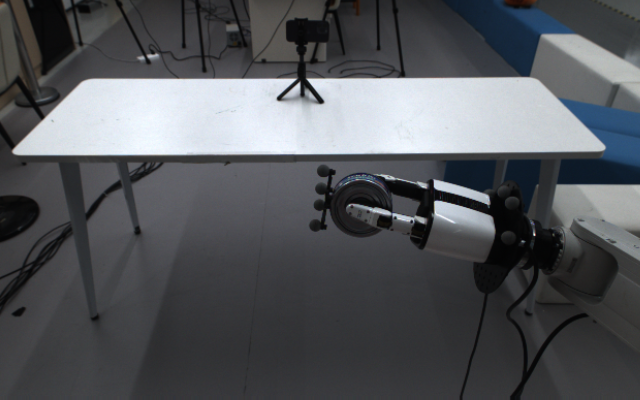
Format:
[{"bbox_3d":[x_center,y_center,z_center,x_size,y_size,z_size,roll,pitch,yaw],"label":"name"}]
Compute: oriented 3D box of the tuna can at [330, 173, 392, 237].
[{"bbox_3d":[0.059,0.011,0.661,0.085,0.085,0.034,5,17,4],"label":"tuna can"}]
